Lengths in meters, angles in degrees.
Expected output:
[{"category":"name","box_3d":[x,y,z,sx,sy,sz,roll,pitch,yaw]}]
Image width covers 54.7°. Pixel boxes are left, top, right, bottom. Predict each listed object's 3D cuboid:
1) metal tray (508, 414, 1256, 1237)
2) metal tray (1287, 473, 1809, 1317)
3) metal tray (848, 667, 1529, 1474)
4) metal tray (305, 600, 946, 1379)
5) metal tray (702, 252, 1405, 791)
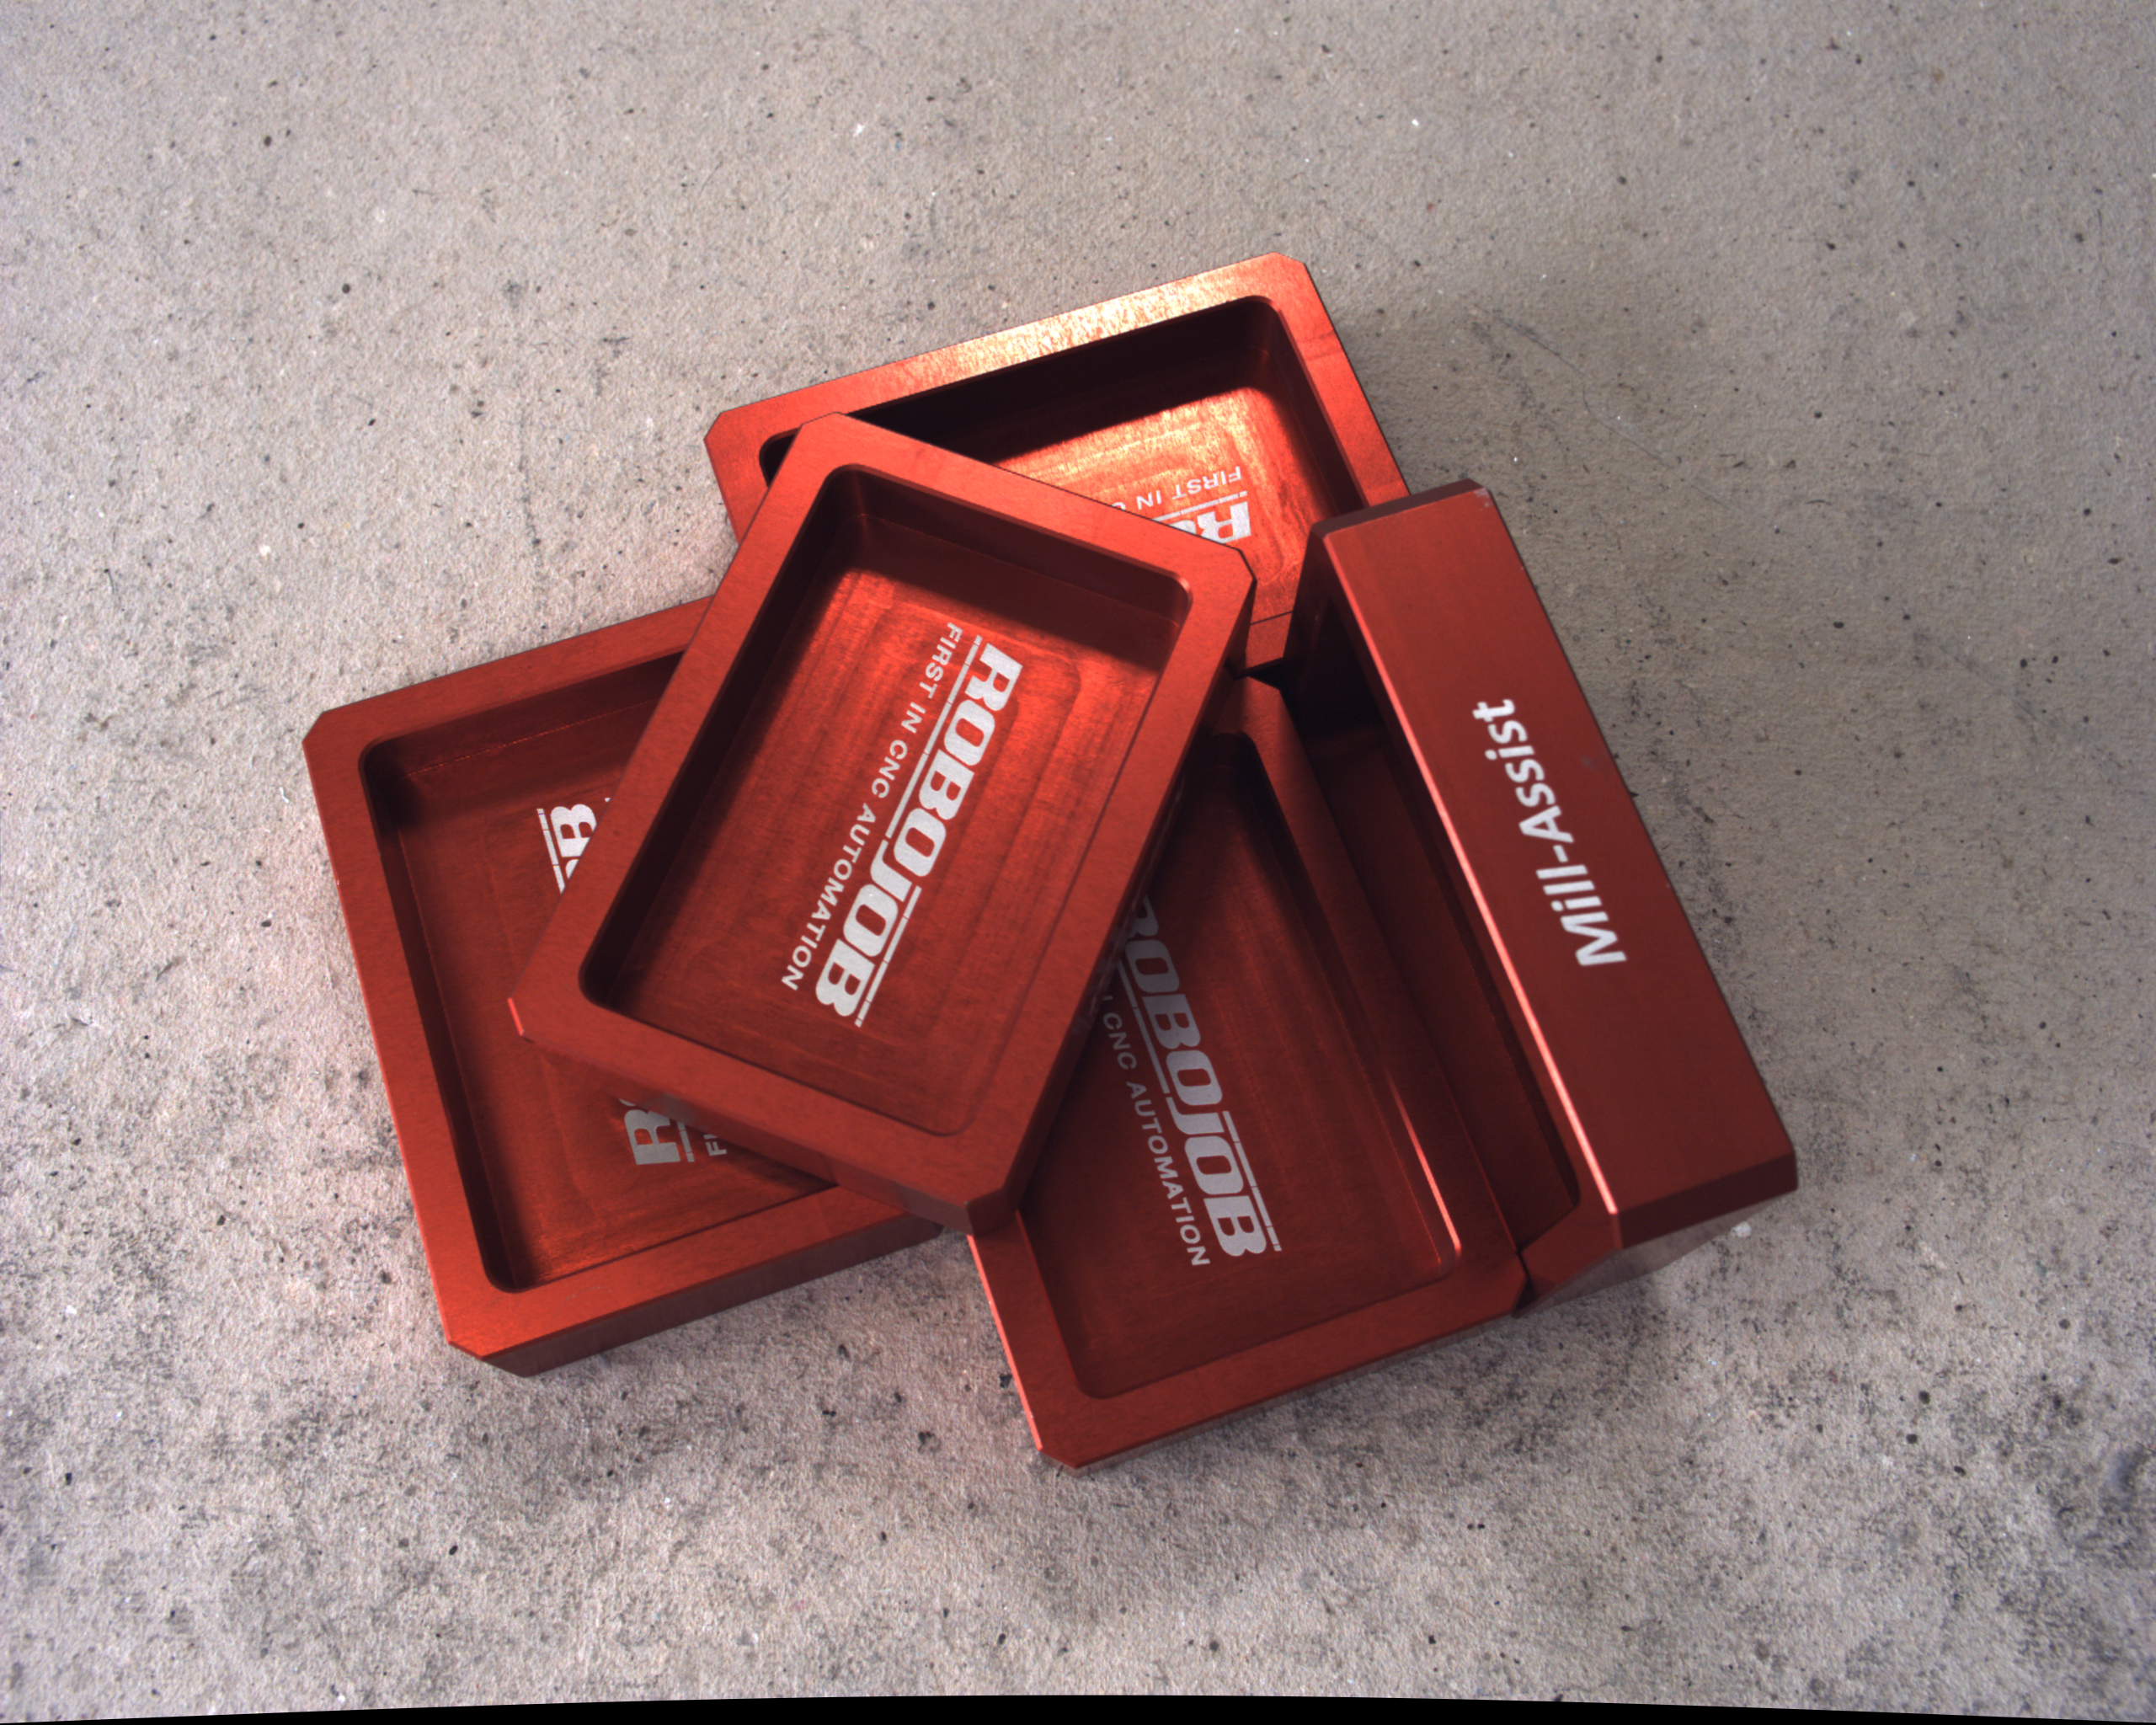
[{"category":"metal tray","box_3d":[-0.032,-0.009,0.379,0.090,0.030,0.130,20,72,8]},{"category":"metal tray","box_3d":[0.075,0.009,0.369,0.030,0.090,0.130,-17,71,-6]},{"category":"metal tray","box_3d":[0.016,0.037,0.391,0.091,0.030,0.130,-18,72,-6]},{"category":"metal tray","box_3d":[-0.085,0.021,0.397,0.091,0.030,0.130,-18,71,-6]},{"category":"metal tray","box_3d":[-0.002,-0.066,0.431,0.131,0.030,0.090,-18,71,-6]}]
